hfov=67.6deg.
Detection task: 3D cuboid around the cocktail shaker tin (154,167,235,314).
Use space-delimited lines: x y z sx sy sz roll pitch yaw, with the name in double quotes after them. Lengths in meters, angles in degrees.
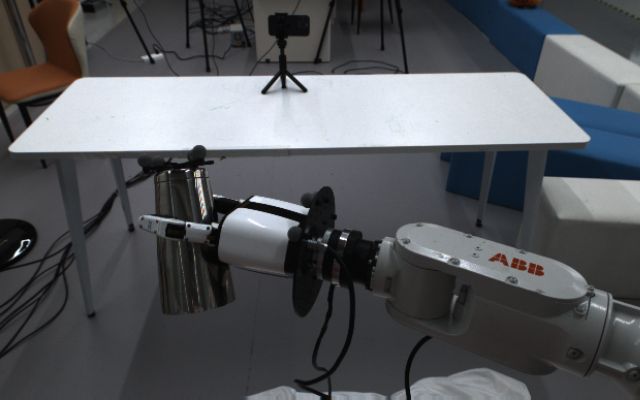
-0.164 0.049 0.611 0.093 0.170 0.093 -8 1 0 "cocktail shaker tin"
